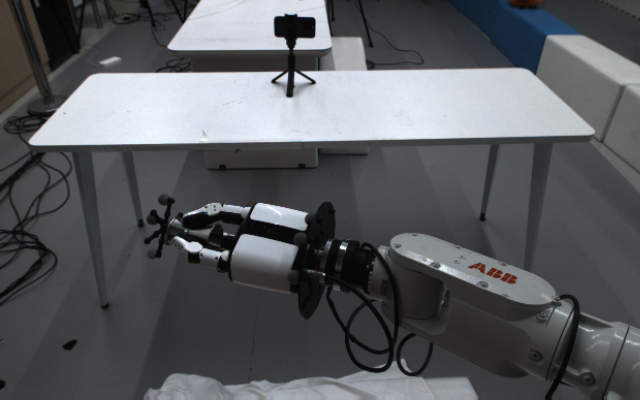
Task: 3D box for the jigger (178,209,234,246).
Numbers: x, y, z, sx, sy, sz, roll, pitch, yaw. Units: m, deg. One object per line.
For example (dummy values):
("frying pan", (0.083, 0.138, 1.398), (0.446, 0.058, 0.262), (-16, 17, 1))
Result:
("jigger", (-0.173, 0.048, 0.695), (0.071, 0.043, 0.043), (11, 36, 15))
